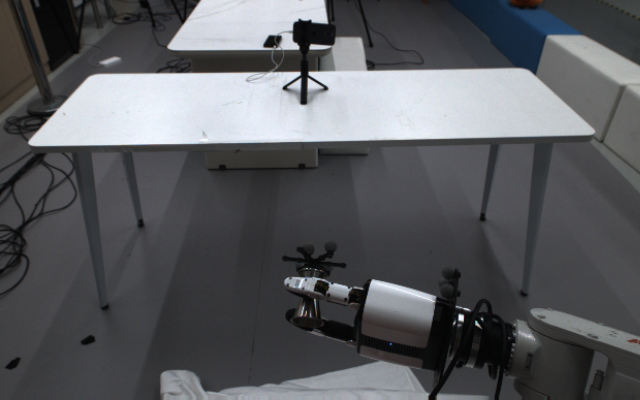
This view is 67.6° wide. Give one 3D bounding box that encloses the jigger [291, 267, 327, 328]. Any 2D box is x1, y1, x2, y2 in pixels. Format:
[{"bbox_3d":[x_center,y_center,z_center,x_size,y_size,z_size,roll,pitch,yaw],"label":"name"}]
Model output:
[{"bbox_3d":[-0.014,0.129,0.645,0.043,0.043,0.071,5,61,4],"label":"jigger"}]
